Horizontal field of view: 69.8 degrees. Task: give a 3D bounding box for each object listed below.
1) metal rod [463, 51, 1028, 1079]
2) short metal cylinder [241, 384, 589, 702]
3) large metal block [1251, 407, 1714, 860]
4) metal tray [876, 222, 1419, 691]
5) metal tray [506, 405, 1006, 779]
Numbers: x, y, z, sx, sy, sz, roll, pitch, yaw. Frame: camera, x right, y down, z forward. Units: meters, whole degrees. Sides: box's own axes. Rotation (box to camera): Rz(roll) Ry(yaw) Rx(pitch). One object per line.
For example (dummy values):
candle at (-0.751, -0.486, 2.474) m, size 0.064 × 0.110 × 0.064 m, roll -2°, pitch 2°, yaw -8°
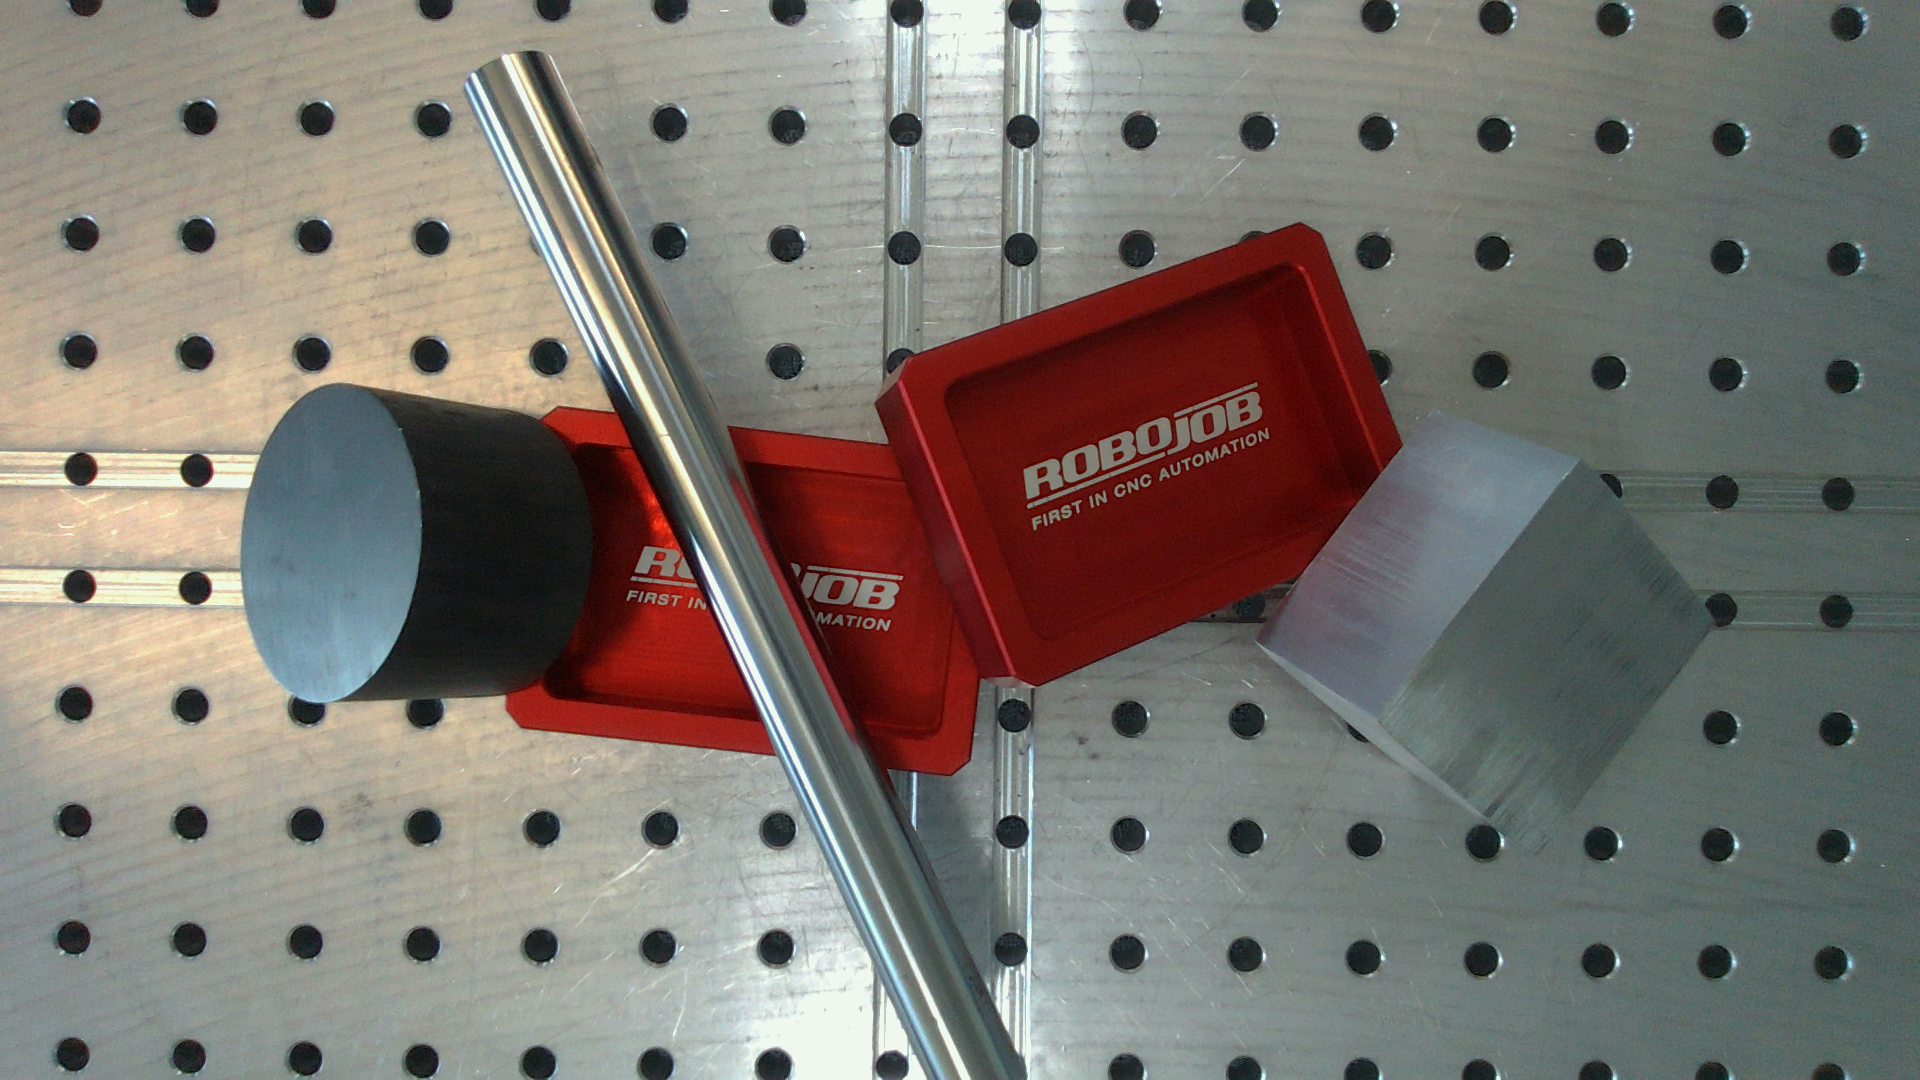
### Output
metal rod at (-0.057, 0.012, 0.367) m, size 0.025 × 0.025 × 0.300 m, roll -25°, pitch 90°, yaw 0°
short metal cylinder at (-0.145, 0.002, 0.366) m, size 0.080 × 0.050 × 0.080 m, roll -3°, pitch 85°, yaw 35°
large metal block at (0.140, 0.025, 0.368) m, size 0.080 × 0.050 × 0.080 m, roll 38°, pitch 90°, yaw -31°
metal tray at (0.053, -0.023, 0.376) m, size 0.130 × 0.030 × 0.090 m, roll -21°, pitch 90°, yaw -17°
metal tray at (-0.056, 0.014, 0.394) m, size 0.130 × 0.030 × 0.090 m, roll 7°, pitch 90°, yaw 0°
